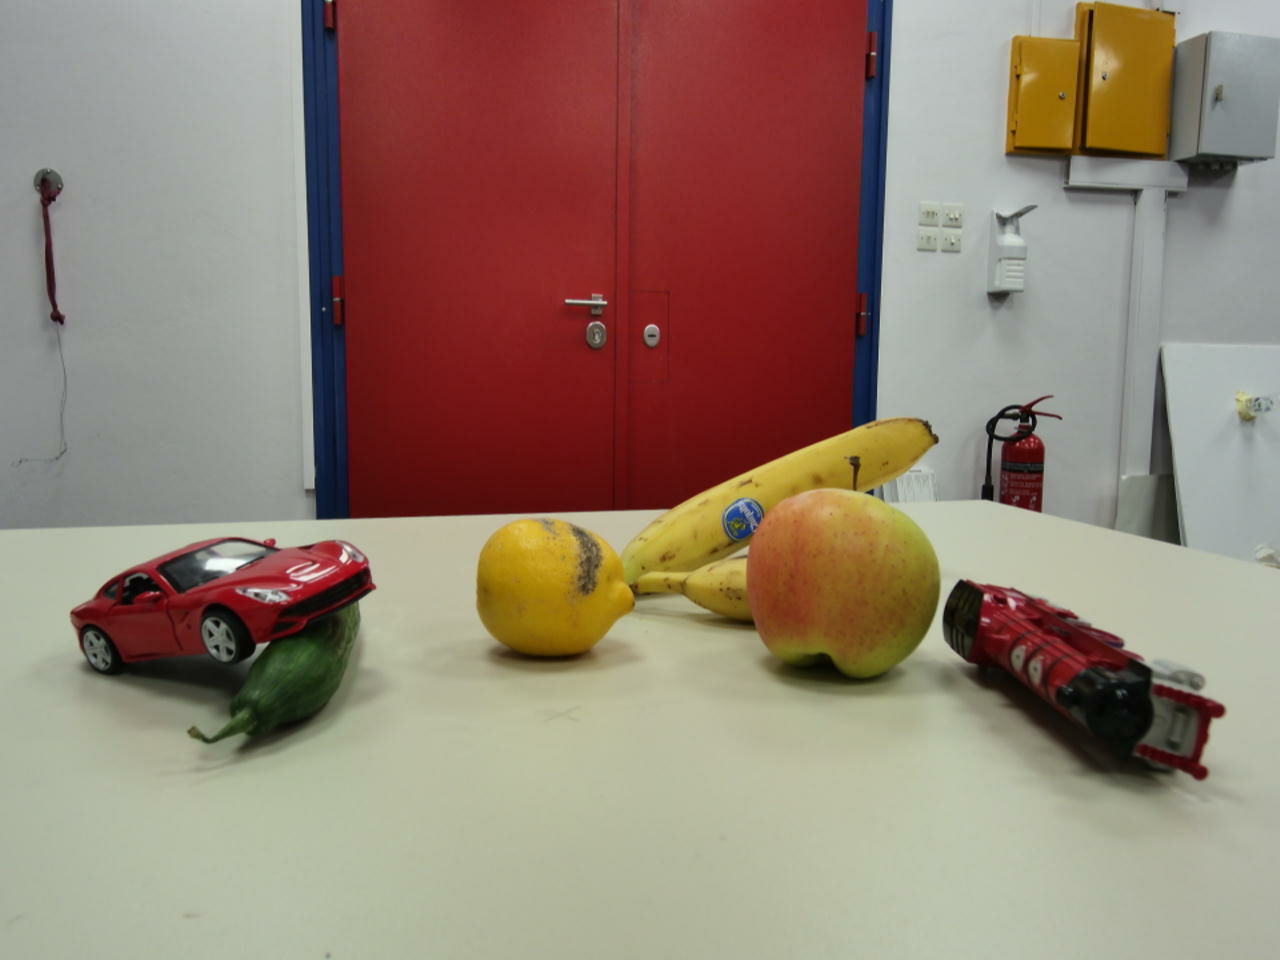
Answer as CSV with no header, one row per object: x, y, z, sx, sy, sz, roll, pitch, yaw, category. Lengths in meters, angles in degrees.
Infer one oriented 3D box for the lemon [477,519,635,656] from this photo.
-0.037,0.044,0.414,0.061,0.056,0.058,-1,5,-21,lemon
